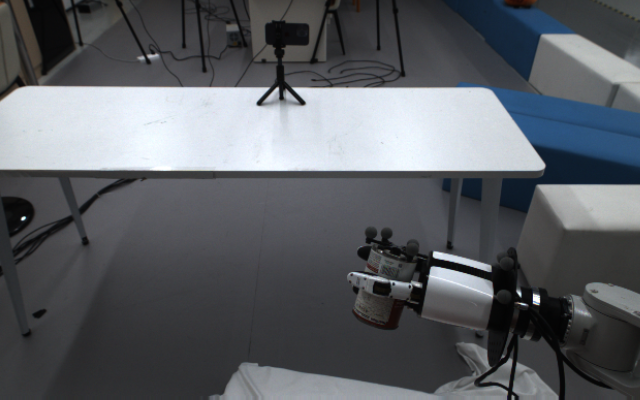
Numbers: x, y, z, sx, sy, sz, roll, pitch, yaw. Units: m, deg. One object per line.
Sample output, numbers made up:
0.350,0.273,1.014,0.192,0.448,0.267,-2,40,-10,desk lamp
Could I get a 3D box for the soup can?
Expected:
0.093,0.119,0.674,0.067,0.101,0.067,15,7,-2,soup can
